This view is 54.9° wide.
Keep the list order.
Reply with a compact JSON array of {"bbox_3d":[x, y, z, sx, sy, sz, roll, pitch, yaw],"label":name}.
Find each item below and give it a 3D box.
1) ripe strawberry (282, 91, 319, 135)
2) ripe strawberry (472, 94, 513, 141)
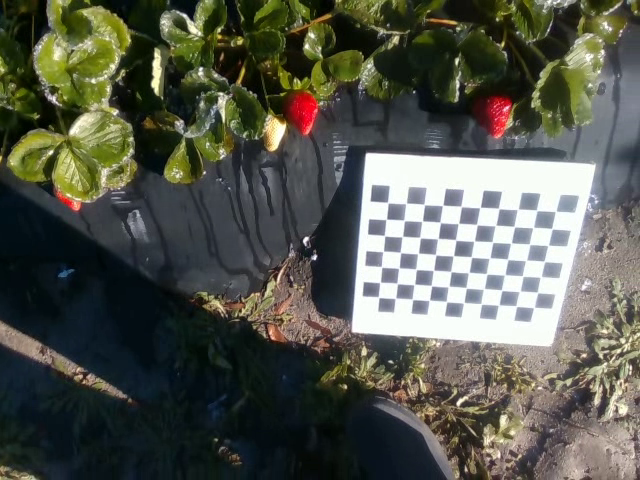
[{"bbox_3d":[-0.019,-0.151,0.751,0.043,0.061,0.046,-9,-18,7],"label":"ripe strawberry"},{"bbox_3d":[0.209,-0.146,0.733,0.049,0.061,0.044,-3,-8,4],"label":"ripe strawberry"}]
